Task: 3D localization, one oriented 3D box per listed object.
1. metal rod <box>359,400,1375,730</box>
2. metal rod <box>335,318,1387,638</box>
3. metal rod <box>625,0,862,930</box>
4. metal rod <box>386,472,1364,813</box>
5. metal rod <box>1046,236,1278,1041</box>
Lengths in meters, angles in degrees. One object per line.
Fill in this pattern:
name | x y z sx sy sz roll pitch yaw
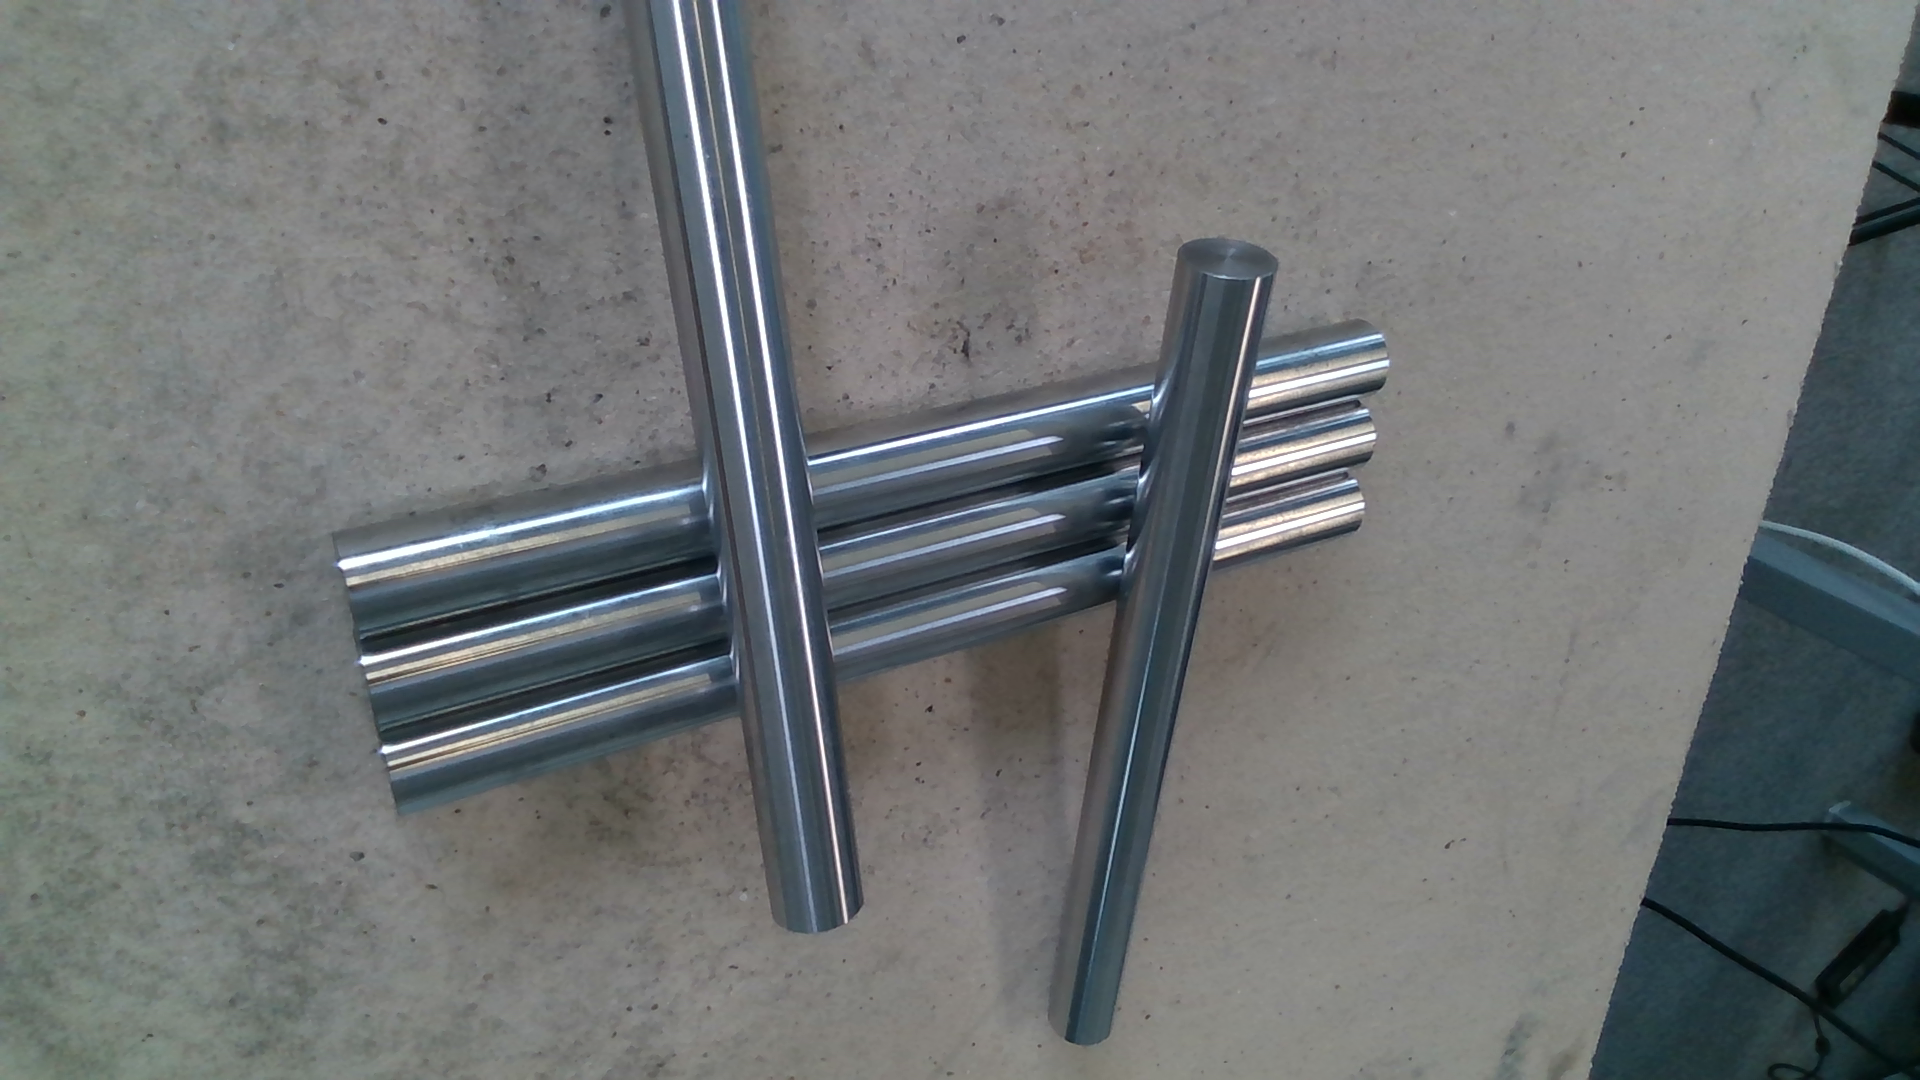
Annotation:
metal rod | -0.006 -0.002 0.385 0.300 0.025 0.025 -15 122 -25
metal rod | -0.006 -0.024 0.373 0.300 0.025 0.025 -14 122 -25
metal rod | -0.050 -0.042 0.312 0.025 0.025 0.301 -16 115 -24
metal rod | -0.006 0.020 0.397 0.300 0.025 0.025 -14 122 -25
metal rod | 0.055 0.053 0.428 0.025 0.025 0.301 -14 129 -25
